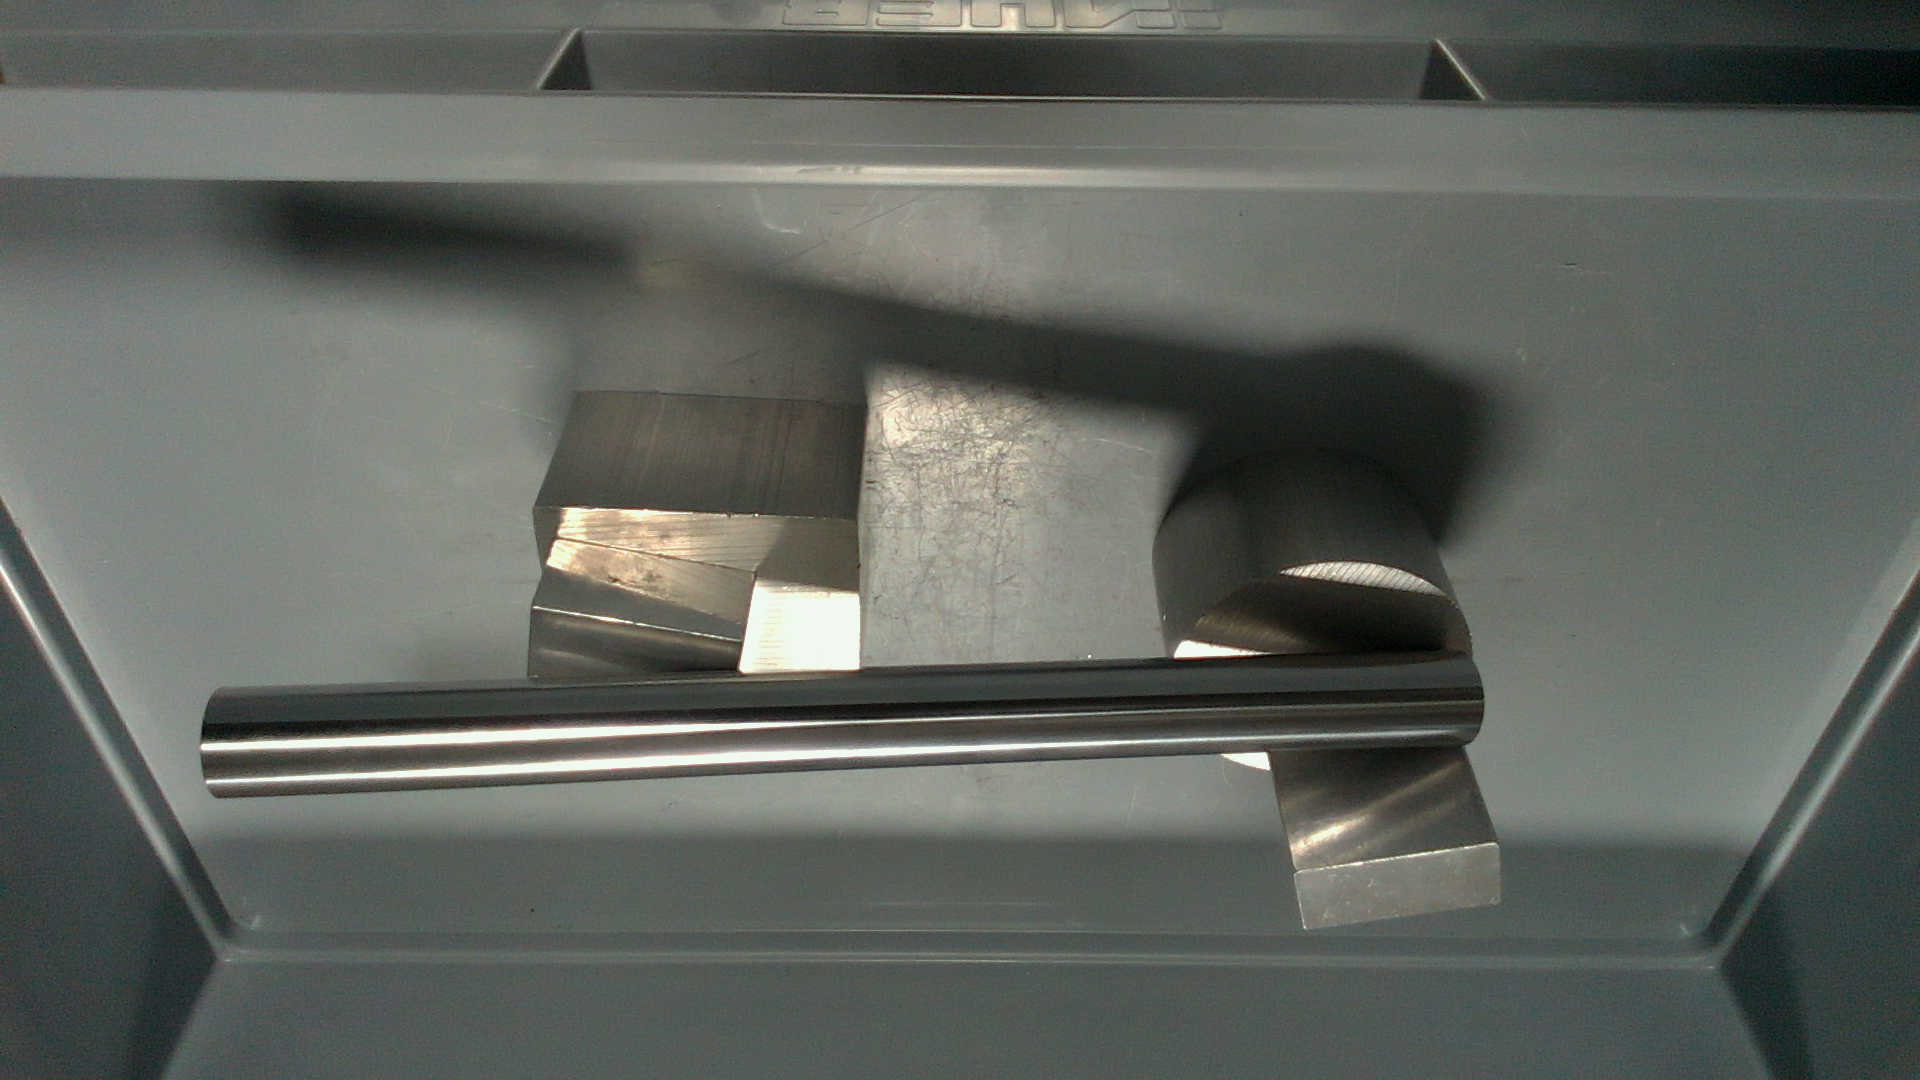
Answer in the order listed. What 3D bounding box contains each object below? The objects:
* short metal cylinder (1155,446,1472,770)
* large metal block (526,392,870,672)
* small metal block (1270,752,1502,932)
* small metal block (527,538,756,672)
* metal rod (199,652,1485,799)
[{"bbox_3d":[0.097,0.020,0.390,0.080,0.050,0.080,0,130,0],"label":"short metal cylinder"},{"bbox_3d":[-0.066,0.008,0.378,0.080,0.050,0.080,2,130,-2],"label":"large metal block"},{"bbox_3d":[0.111,0.072,0.367,0.050,0.050,0.025,-11,129,9],"label":"small metal block"},{"bbox_3d":[-0.081,0.031,0.349,0.050,0.025,0.050,10,129,-8],"label":"small metal block"},{"bbox_3d":[-0.018,0.044,0.334,0.300,0.025,0.025,-1,131,-10],"label":"metal rod"}]
